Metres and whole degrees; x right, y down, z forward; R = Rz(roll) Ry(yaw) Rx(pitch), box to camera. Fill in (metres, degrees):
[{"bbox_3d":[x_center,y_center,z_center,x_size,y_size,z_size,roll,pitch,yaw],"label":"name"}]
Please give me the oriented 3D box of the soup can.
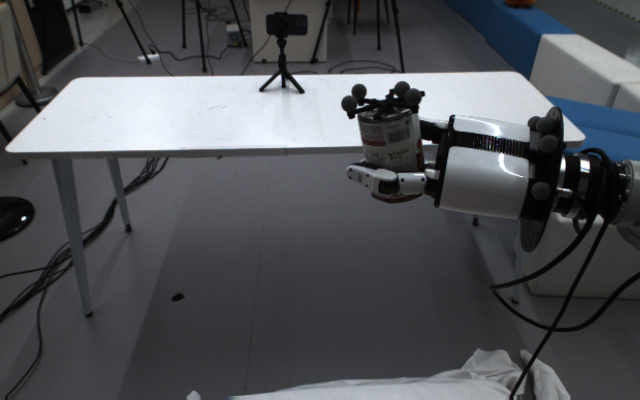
[{"bbox_3d":[0.086,-0.056,0.550,0.067,0.101,0.067,-11,27,6],"label":"soup can"}]
